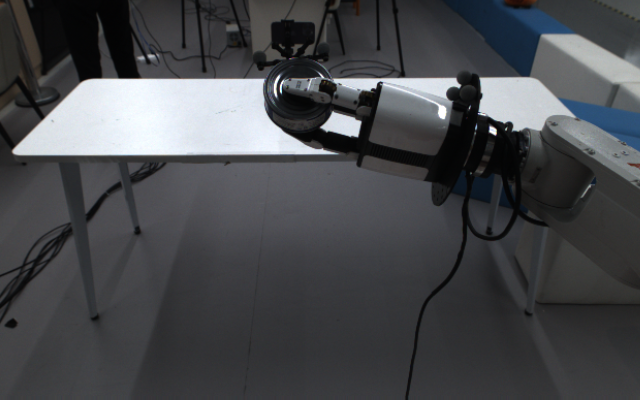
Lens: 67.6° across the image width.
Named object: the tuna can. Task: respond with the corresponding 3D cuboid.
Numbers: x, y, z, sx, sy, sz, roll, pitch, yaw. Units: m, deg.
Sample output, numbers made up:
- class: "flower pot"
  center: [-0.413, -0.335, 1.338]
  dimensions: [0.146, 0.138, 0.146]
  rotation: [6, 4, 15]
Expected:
- class: "tuna can"
  center: [-0.020, -0.121, 0.577]
  dimensions: [0.085, 0.034, 0.085]
  rotation: [0, 72, -1]
